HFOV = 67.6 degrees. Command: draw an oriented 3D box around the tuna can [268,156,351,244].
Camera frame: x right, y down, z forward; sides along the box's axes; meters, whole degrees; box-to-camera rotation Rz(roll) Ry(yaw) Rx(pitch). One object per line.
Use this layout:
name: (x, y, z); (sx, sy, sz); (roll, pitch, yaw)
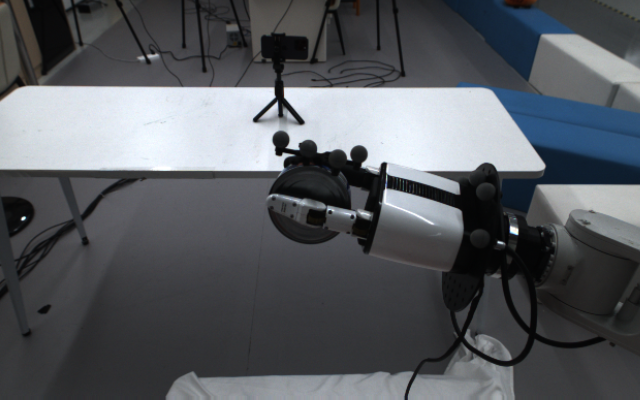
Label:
tuna can: (-0.008, -0.001, 0.506); (0.085, 0.085, 0.034); (5, 18, 4)
